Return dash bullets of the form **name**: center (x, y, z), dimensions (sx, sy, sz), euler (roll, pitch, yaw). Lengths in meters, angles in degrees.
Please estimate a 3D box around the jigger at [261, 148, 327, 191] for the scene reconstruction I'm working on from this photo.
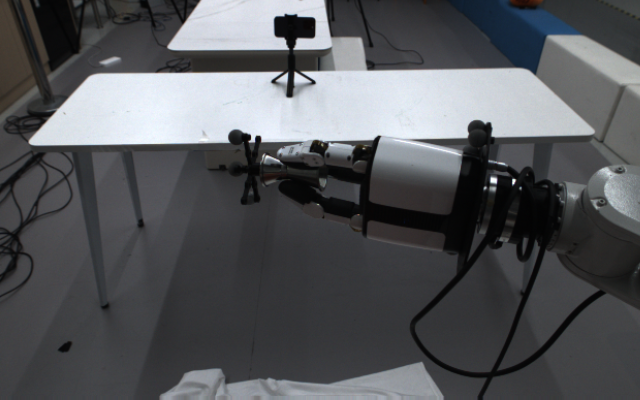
- **jigger**: center (-0.021, -0.036, 0.544), dimensions (0.071, 0.043, 0.043), euler (2, 34, 13)
